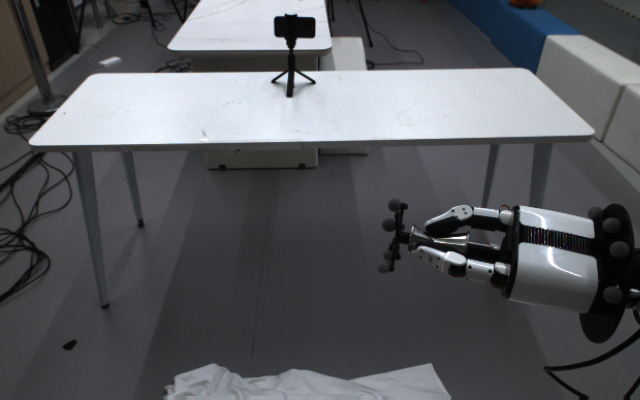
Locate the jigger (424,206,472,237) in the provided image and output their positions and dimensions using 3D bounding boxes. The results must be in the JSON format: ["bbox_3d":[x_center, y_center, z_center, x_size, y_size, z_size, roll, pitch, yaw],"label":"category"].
[{"bbox_3d":[0.152,0.051,0.596,0.071,0.043,0.043,9,35,17],"label":"jigger"}]
